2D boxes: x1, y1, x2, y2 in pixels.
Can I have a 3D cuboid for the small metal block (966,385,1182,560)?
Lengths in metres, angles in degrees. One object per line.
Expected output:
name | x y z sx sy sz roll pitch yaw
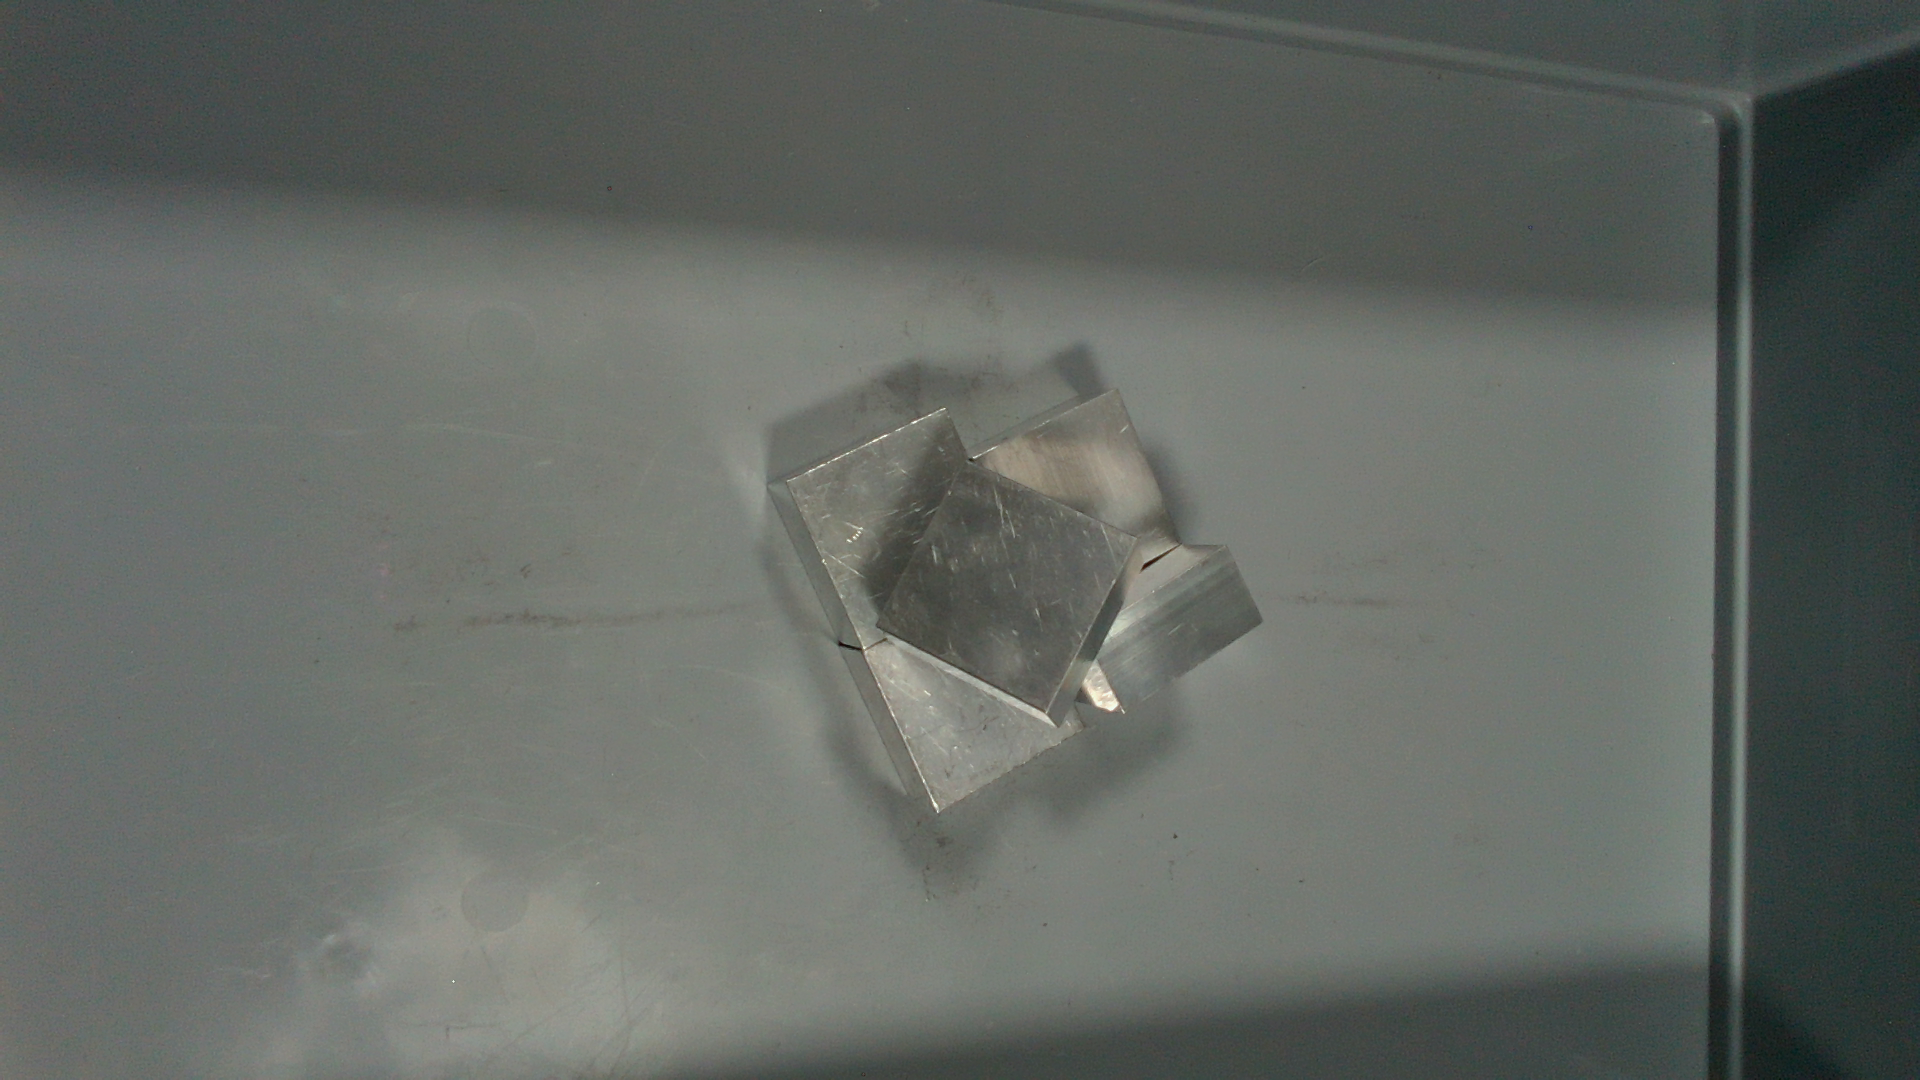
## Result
small metal block | 0.030 -0.011 0.403 0.050 0.025 0.050 -26 99 -18

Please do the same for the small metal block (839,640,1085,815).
small metal block | 0.000 0.042 0.393 0.050 0.025 0.050 -26 99 -18

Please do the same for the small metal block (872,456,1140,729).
small metal block | 0.013 0.014 0.357 0.050 0.025 0.050 25 80 17

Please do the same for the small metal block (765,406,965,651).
small metal block | -0.020 -0.004 0.385 0.050 0.025 0.050 -26 99 -18

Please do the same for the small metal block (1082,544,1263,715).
small metal block | 0.050 0.024 0.397 0.050 0.050 0.025 -30 100 -18
